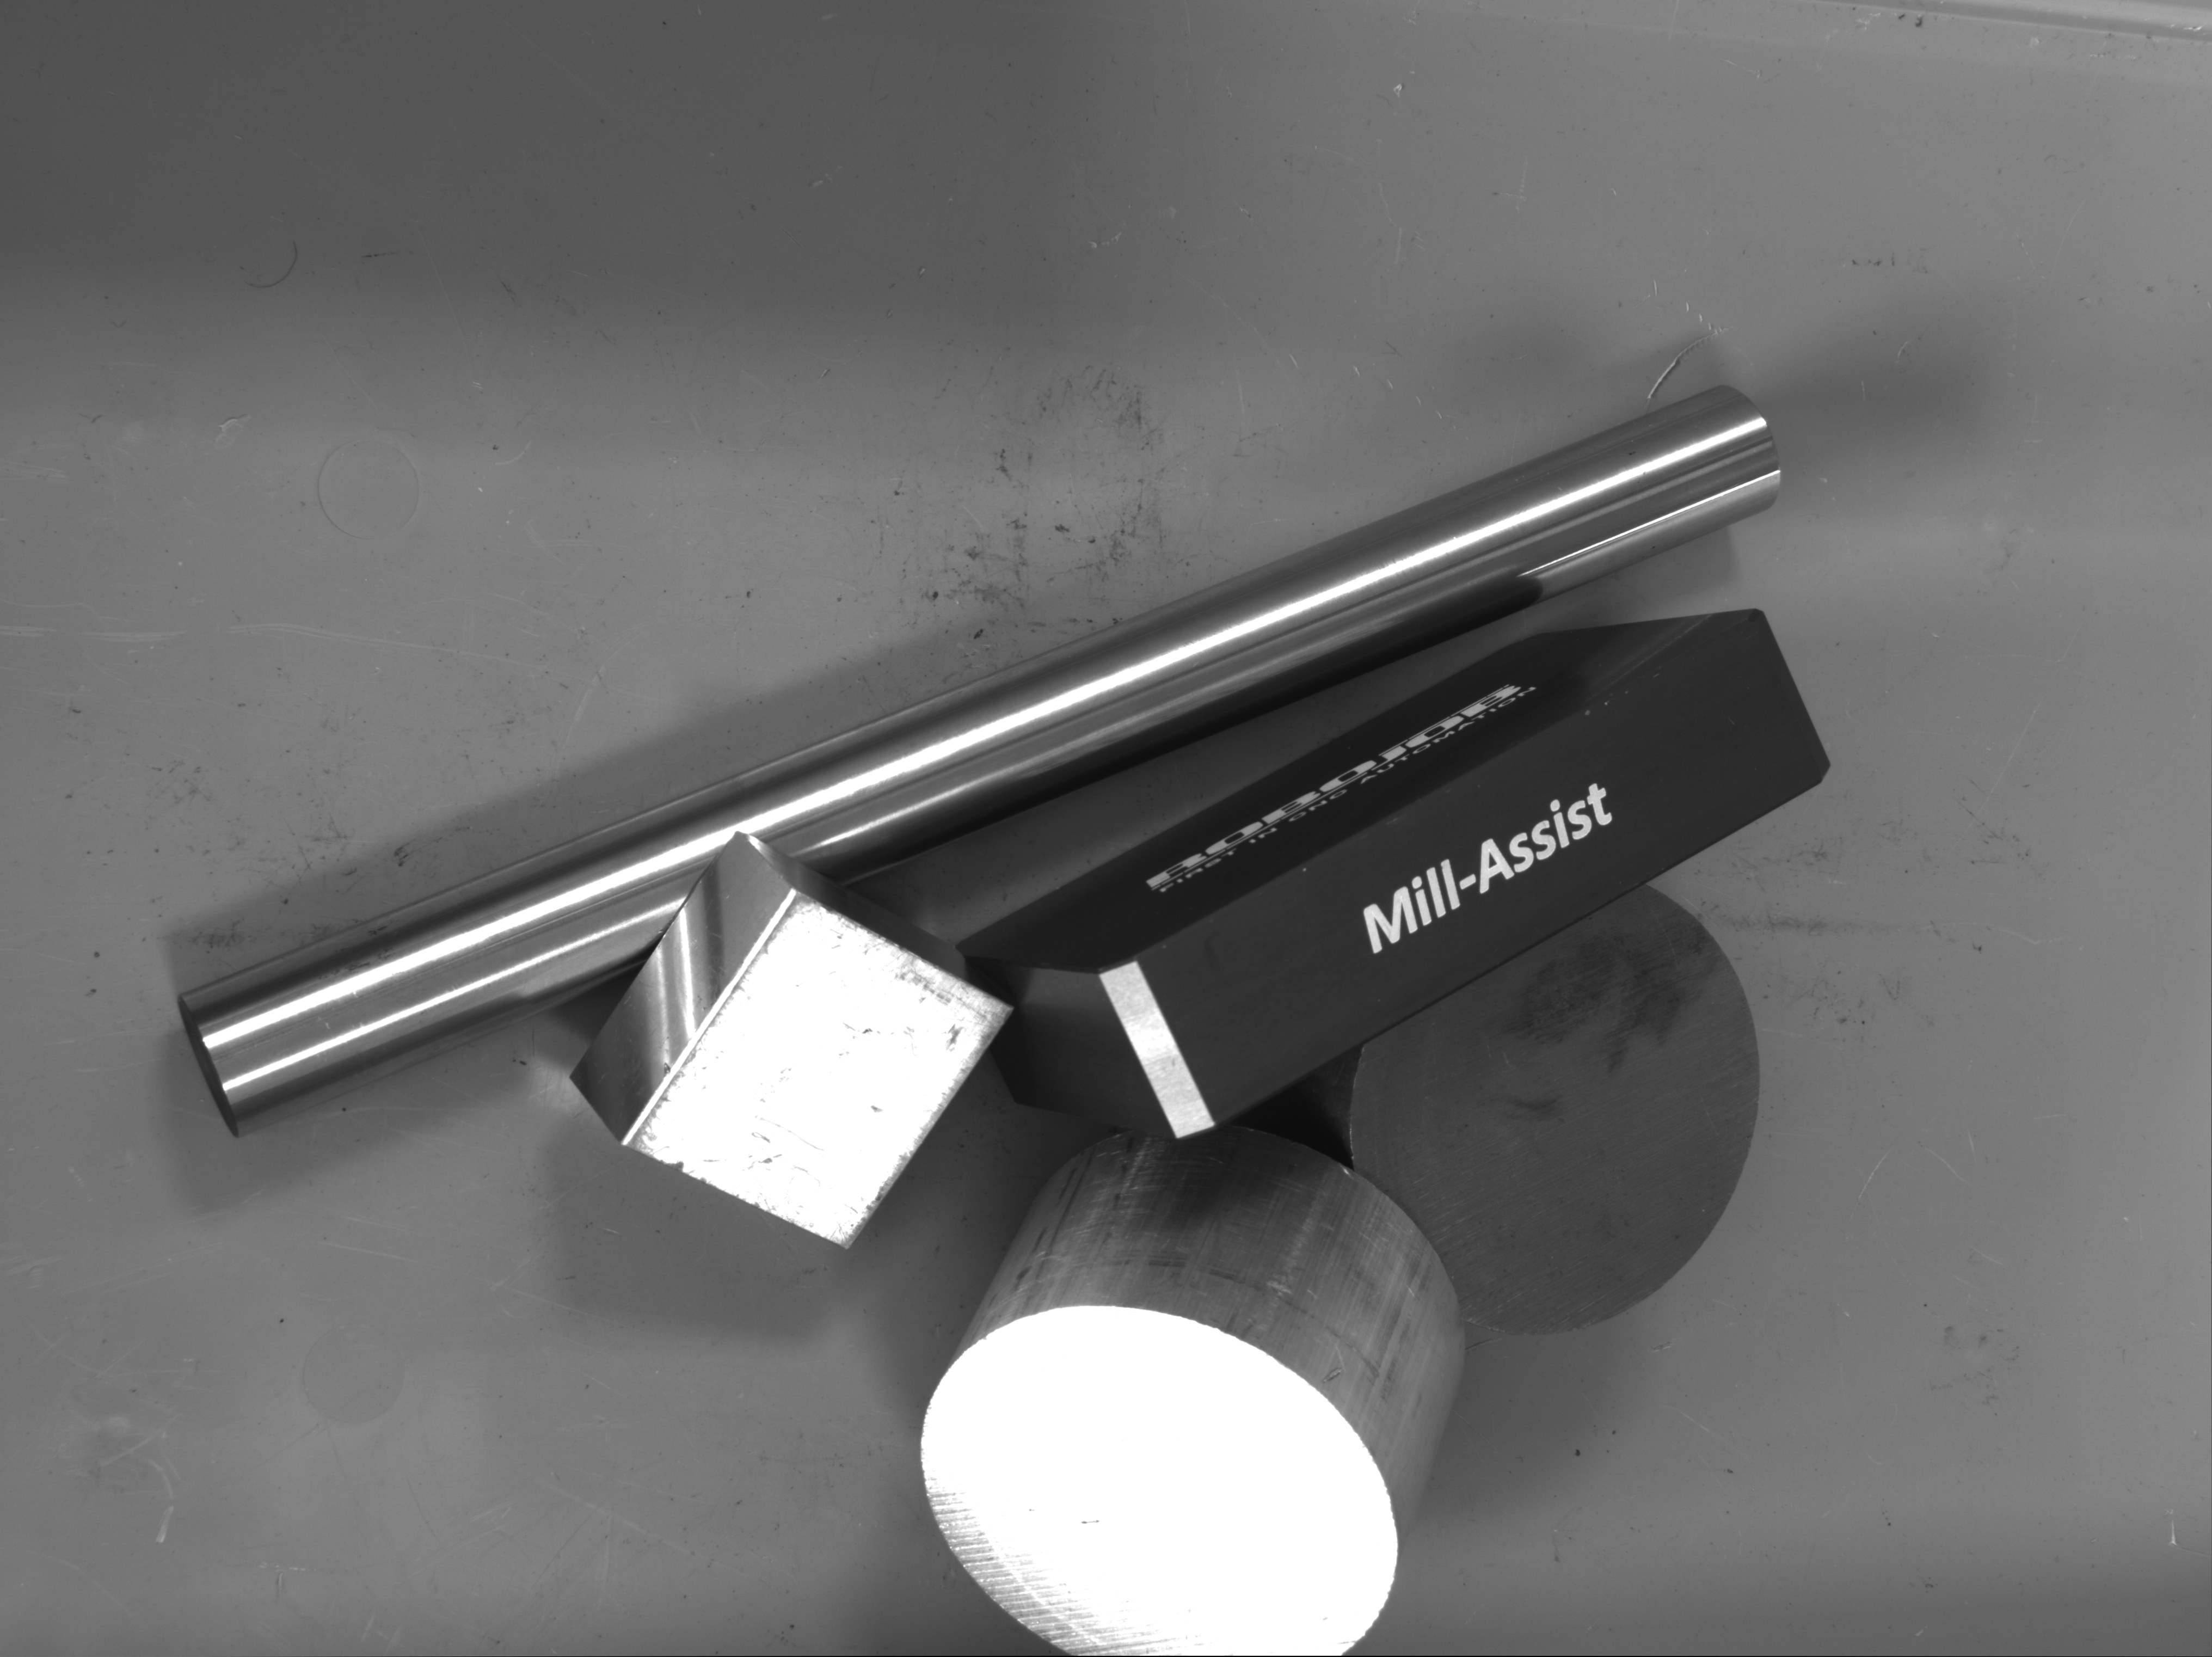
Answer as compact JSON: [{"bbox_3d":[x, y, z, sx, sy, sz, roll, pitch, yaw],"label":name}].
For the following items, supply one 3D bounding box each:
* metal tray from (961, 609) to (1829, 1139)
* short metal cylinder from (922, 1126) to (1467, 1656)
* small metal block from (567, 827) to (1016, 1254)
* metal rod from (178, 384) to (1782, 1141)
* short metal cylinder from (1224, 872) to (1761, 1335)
[{"bbox_3d":[0.046,0.006,0.624,0.130,0.090,0.030,-28,99,-18],"label":"metal tray"},{"bbox_3d":[0.016,0.096,0.611,0.080,0.080,0.050,49,34,-13],"label":"short metal cylinder"},{"bbox_3d":[-0.052,0.036,0.610,0.050,0.025,0.050,31,95,-36],"label":"small metal block"},{"bbox_3d":[-0.013,-0.016,0.637,0.300,0.025,0.025,-23,97,-18],"label":"metal rod"},{"bbox_3d":[0.068,0.044,0.648,0.080,0.050,0.080,-4,100,-23],"label":"short metal cylinder"}]
